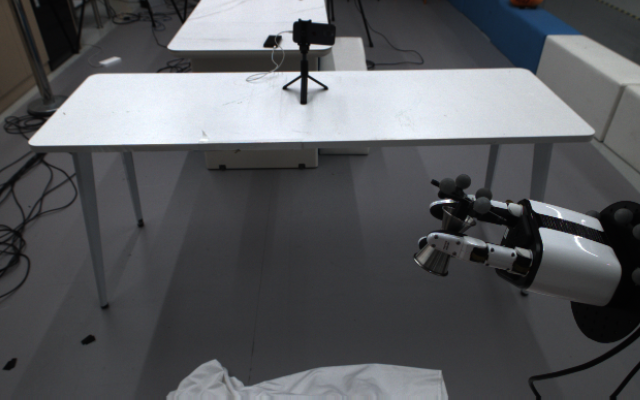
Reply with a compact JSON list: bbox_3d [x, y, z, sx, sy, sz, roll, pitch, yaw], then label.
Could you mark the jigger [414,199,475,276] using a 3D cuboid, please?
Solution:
[{"bbox_3d":[0.138,0.044,0.540,0.043,0.071,0.043,23,19,-8],"label":"jigger"}]
